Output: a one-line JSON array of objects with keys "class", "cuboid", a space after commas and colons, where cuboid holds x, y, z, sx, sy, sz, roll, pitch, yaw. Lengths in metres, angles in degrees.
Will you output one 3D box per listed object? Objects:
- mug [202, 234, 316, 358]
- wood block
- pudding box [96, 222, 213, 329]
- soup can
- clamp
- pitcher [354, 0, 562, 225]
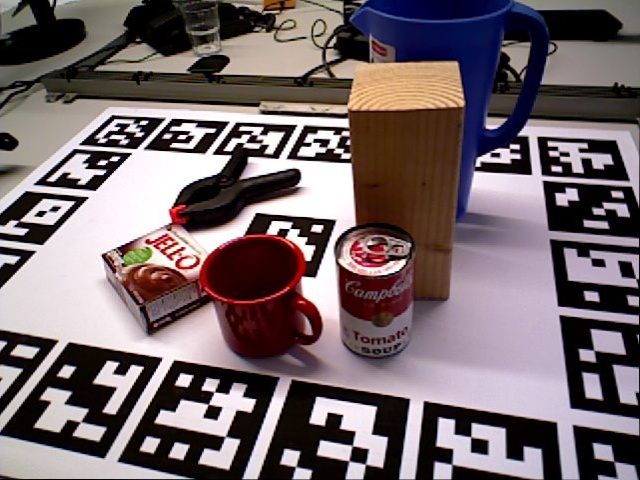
[{"class": "mug", "cuboid": [-0.045, 0.055, 0.477, 0.091, 0.083, 0.117, -28, 43, -29]}, {"class": "wood block", "cuboid": [0.083, -0.053, 0.488, 0.090, 0.211, 0.089, 7, 40, 9]}, {"class": "pudding box", "cuboid": [-0.169, 0.031, 0.562, 0.088, 0.039, 0.114, -32, 45, -24]}, {"class": "soup can", "cuboid": [0.049, 0.042, 0.461, 0.068, 0.104, 0.067, -4, 41, 3]}, {"class": "clamp", "cuboid": [-0.110, -0.062, 0.677, 0.122, 0.037, 0.161, 33, 53, 29]}, {"class": "pitcher", "cuboid": [0.135, -0.137, 0.560, 0.189, 0.247, 0.130, 3, 38, 15]}]
